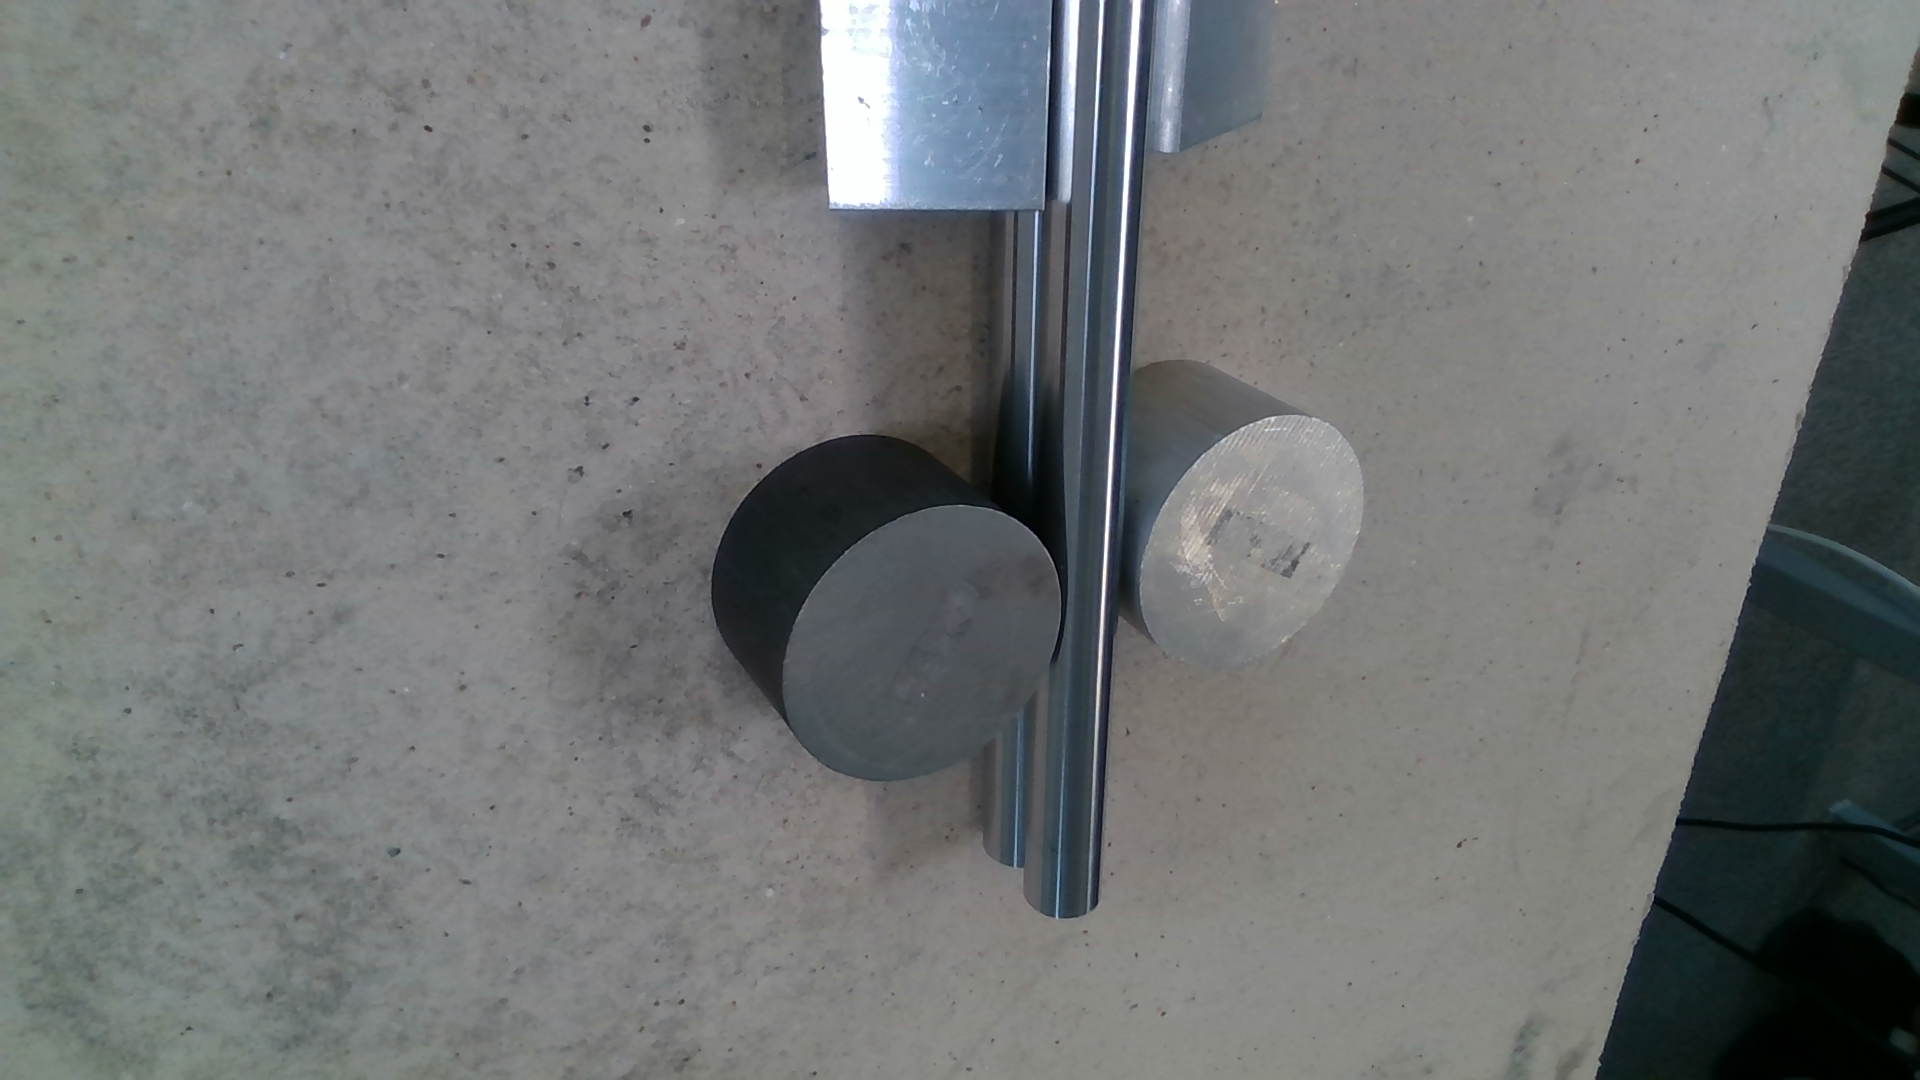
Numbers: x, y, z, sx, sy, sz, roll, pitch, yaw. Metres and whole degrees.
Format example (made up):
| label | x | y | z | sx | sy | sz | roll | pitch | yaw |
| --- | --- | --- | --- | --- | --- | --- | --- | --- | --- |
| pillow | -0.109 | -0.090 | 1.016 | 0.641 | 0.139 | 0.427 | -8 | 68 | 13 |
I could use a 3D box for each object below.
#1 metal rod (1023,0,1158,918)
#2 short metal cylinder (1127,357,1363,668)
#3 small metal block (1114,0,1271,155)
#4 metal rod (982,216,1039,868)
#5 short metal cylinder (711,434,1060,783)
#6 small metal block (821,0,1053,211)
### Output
| label | x | y | z | sx | sy | sz | roll | pitch | yaw |
| --- | --- | --- | --- | --- | --- | --- | --- | --- | --- |
| metal rod | 0.033 | -0.021 | 0.366 | 0.025 | 0.025 | 0.301 | -14 | 121 | -25 |
| short metal cylinder | 0.073 | -0.009 | 0.414 | 0.080 | 0.050 | 0.080 | -14 | 122 | -25 |
| small metal block | 0.055 | -0.128 | 0.343 | 0.050 | 0.025 | 0.050 | -34 | 133 | -47 |
| metal rod | 0.020 | -0.032 | 0.385 | 0.025 | 0.025 | 0.301 | -14 | 122 | -25 |
| short metal cylinder | -0.020 | 0.018 | 0.371 | 0.080 | 0.050 | 0.080 | -14 | 122 | -25 |
| small metal block | -0.006 | -0.104 | 0.317 | 0.050 | 0.025 | 0.050 | 0 | 119 | -2 |
